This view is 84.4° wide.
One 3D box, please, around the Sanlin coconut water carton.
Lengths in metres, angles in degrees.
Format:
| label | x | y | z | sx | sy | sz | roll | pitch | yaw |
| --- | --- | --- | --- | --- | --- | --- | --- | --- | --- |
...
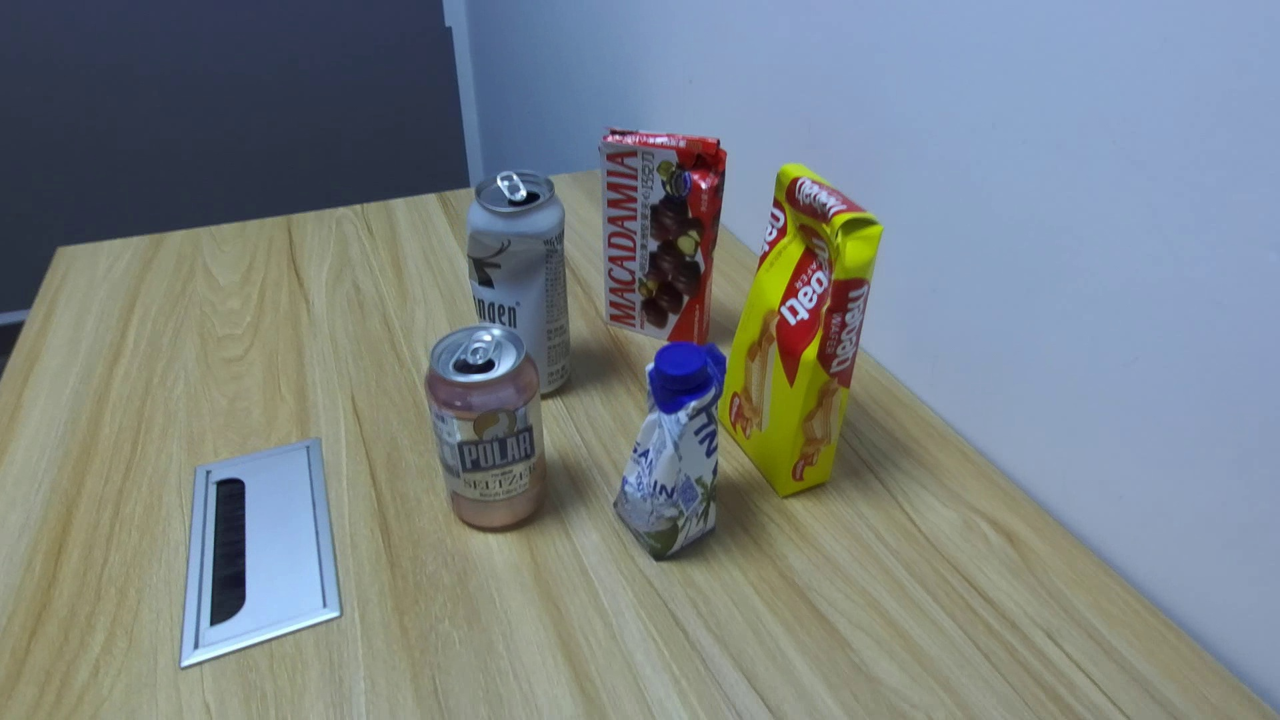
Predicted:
| label | x | y | z | sx | sy | sz | roll | pitch | yaw |
| --- | --- | --- | --- | --- | --- | --- | --- | --- | --- |
| Sanlin coconut water carton | 0.030 | 0.052 | 0.424 | 0.069 | 0.144 | 0.056 | -17 | 47 | -35 |

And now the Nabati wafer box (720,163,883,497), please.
| label | x | y | z | sx | sy | sz | roll | pitch | yaw |
| --- | --- | --- | --- | --- | --- | --- | --- | --- | --- |
| Nabati wafer box | 0.099 | -0.015 | 0.458 | 0.043 | 0.205 | 0.113 | -14 | 39 | -19 |

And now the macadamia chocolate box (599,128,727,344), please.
| label | x | y | z | sx | sy | sz | roll | pitch | yaw |
| --- | --- | --- | --- | --- | --- | --- | --- | --- | --- |
| macadamia chocolate box | 0.018 | -0.096 | 0.577 | 0.102 | 0.187 | 0.027 | 17 | 43 | 19 |

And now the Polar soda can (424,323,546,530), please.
| label | x | y | z | sx | sy | sz | roll | pitch | yaw |
| --- | --- | --- | --- | --- | --- | --- | --- | --- | --- |
| Polar soda can | -0.095 | 0.043 | 0.446 | 0.067 | 0.126 | 0.067 | 1 | 37 | -1 |

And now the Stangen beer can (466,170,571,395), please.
| label | x | y | z | sx | sy | sz | roll | pitch | yaw |
| --- | --- | --- | --- | --- | --- | --- | --- | --- | --- |
| Stangen beer can | -0.088 | -0.052 | 0.531 | 0.070 | 0.173 | 0.070 | -18 | 41 | -23 |
